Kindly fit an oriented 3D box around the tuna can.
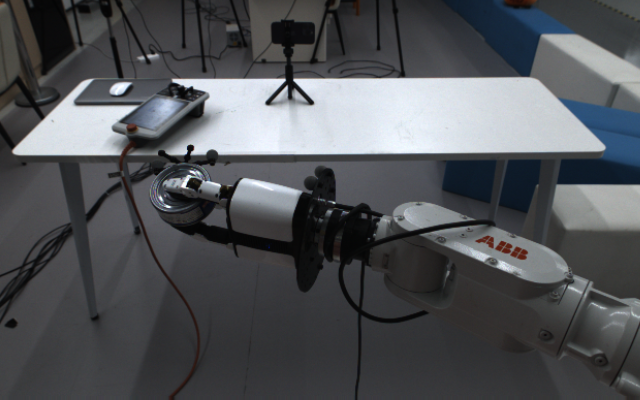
[{"bbox_3d":[-0.182,-0.001,0.658,0.085,0.034,0.085,-3,60,5],"label":"tuna can"}]
